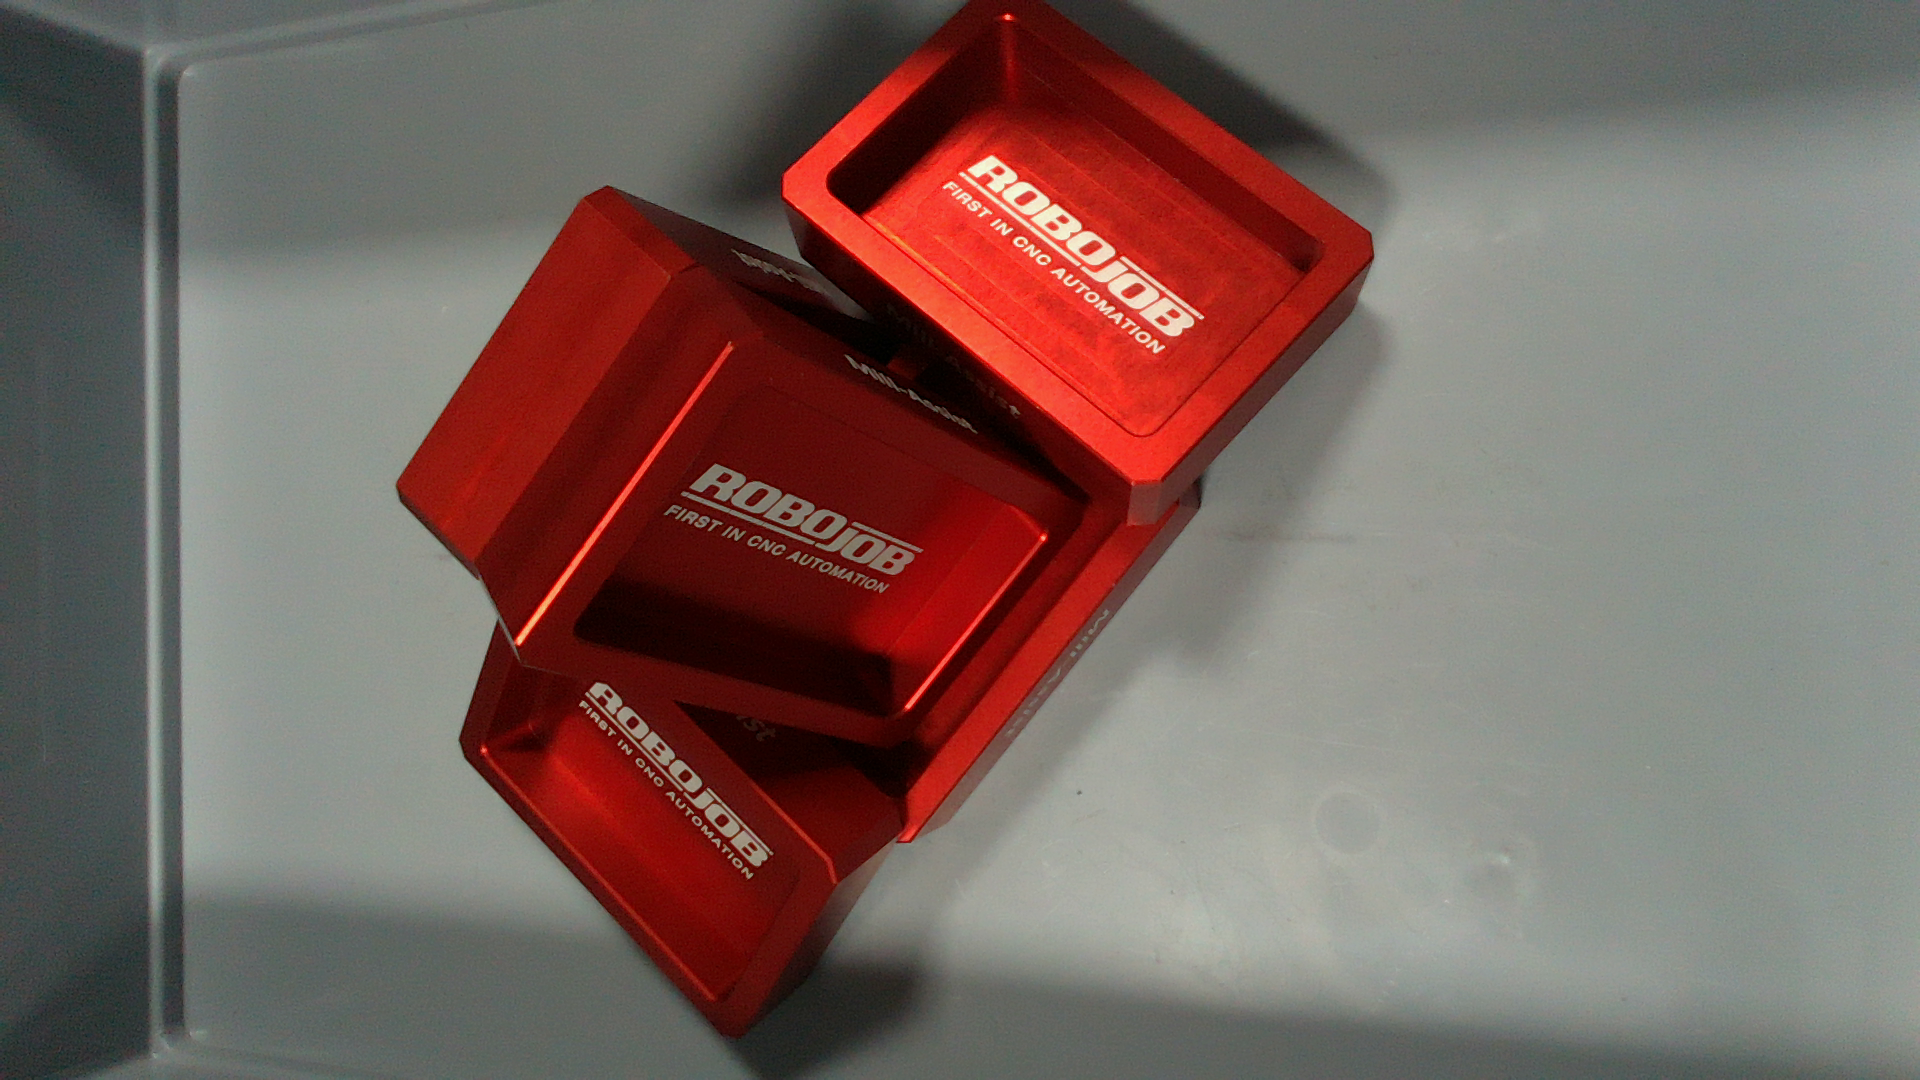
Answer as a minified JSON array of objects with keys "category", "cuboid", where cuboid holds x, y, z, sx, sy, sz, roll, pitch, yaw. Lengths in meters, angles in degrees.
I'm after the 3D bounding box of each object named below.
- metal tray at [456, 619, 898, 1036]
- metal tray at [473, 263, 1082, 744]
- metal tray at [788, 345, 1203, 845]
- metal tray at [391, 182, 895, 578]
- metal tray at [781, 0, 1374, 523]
[{"category":"metal tray","cuboid":[-0.088,0.071,0.405,0.130,0.030,0.090,41,127,15]},{"category":"metal tray","cuboid":[-0.038,-0.001,0.340,0.090,0.130,0.030,-52,51,12]},{"category":"metal tray","cuboid":[-0.005,0.009,0.393,0.090,0.030,0.130,41,103,15]},{"category":"metal tray","cuboid":[-0.073,-0.035,0.364,0.030,0.130,0.090,42,103,16]},{"category":"metal tray","cuboid":[0.029,-0.078,0.363,0.130,0.030,0.090,41,77,15]}]
